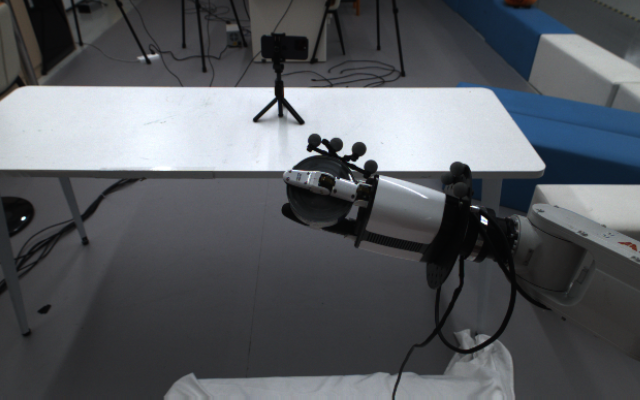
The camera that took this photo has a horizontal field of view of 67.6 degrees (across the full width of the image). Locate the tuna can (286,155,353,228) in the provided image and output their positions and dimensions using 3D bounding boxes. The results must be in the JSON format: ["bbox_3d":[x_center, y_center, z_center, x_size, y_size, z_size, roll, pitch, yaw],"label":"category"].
[{"bbox_3d":[0.003,-0.012,0.601,0.085,0.034,0.085,0,72,0],"label":"tuna can"}]
